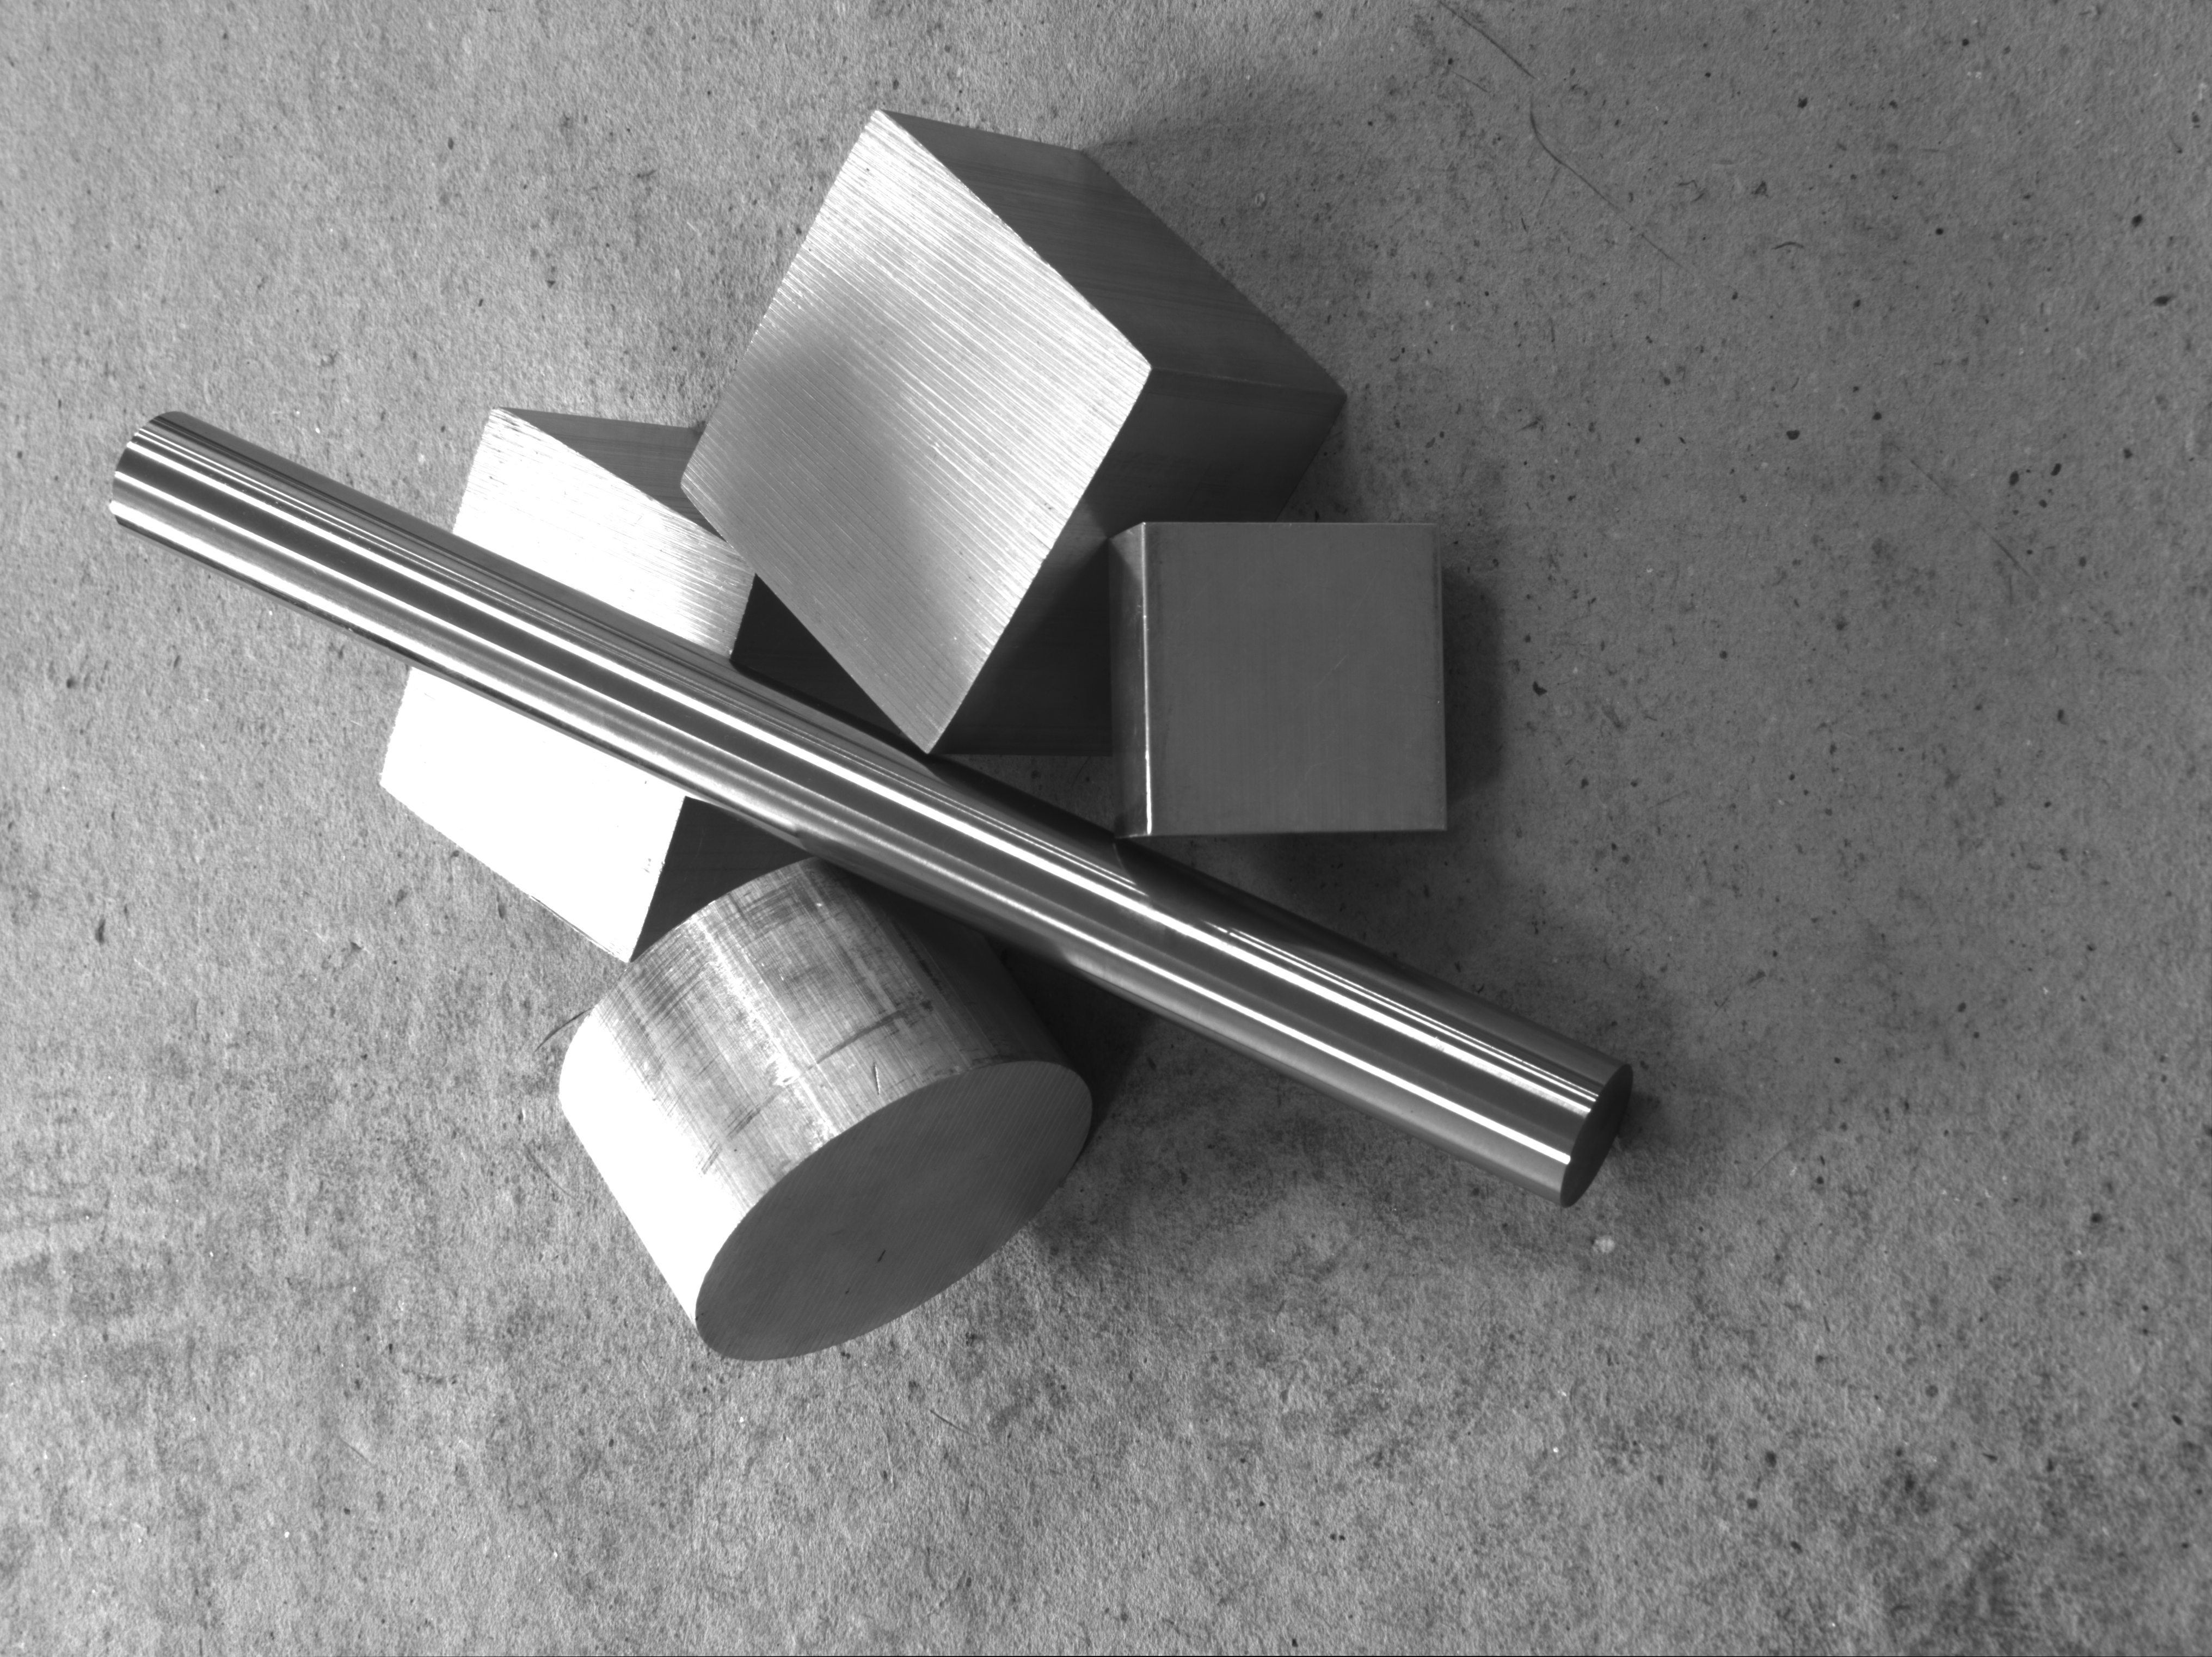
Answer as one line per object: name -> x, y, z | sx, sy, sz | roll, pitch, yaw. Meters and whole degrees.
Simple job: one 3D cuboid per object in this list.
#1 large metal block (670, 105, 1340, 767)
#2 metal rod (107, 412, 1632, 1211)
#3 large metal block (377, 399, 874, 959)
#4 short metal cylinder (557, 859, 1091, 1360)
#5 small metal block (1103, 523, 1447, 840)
large metal block -> -0.019, -0.067, 0.642 | 0.080, 0.050, 0.080 | 47, 118, 30
metal rod -> -0.050, -0.008, 0.634 | 0.299, 0.025, 0.025 | 24, 106, 21
large metal block -> -0.086, -0.028, 0.702 | 0.080, 0.050, 0.080 | 31, 109, 36
short metal cylinder -> -0.050, 0.049, 0.651 | 0.080, 0.080, 0.050 | -52, 60, 28
small metal block -> 0.027, -0.024, 0.603 | 0.025, 0.050, 0.050 | 174, 95, -76
